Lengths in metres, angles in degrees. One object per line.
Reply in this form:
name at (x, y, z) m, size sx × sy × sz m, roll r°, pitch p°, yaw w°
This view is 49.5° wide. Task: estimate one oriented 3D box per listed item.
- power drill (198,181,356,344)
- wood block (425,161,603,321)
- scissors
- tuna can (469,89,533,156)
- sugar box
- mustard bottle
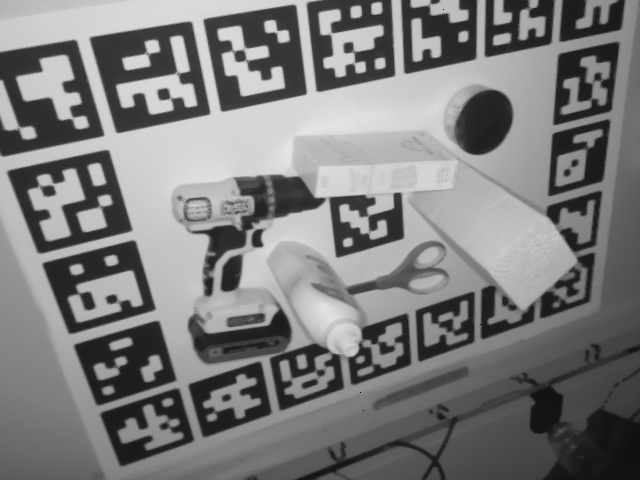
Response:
power drill at (-0.050, 0.023, 0.813) m, size 0.187 × 0.057 × 0.186 m, roll -3°, pitch 108°, yaw -20°
wood block at (0.224, -0.005, 0.829) m, size 0.091 × 0.206 × 0.090 m, roll -40°, pitch 120°, yaw 2°
scissors at (0.135, 0.066, 0.927) m, size 0.205 × 0.016 × 0.087 m, roll -13°, pitch 122°, yaw -15°
tuna can at (0.228, -0.141, 0.852) m, size 0.086 × 0.033 × 0.085 m, roll -8°, pitch 116°, yaw -16°
sugar box at (0.079, -0.082, 0.794) m, size 0.178 × 0.093 × 0.045 m, roll -3°, pitch 119°, yaw -17°
mustard bottle at (0.019, 0.080, 0.798) m, size 0.097 × 0.191 × 0.058 m, roll 36°, pitch 98°, yaw -29°
